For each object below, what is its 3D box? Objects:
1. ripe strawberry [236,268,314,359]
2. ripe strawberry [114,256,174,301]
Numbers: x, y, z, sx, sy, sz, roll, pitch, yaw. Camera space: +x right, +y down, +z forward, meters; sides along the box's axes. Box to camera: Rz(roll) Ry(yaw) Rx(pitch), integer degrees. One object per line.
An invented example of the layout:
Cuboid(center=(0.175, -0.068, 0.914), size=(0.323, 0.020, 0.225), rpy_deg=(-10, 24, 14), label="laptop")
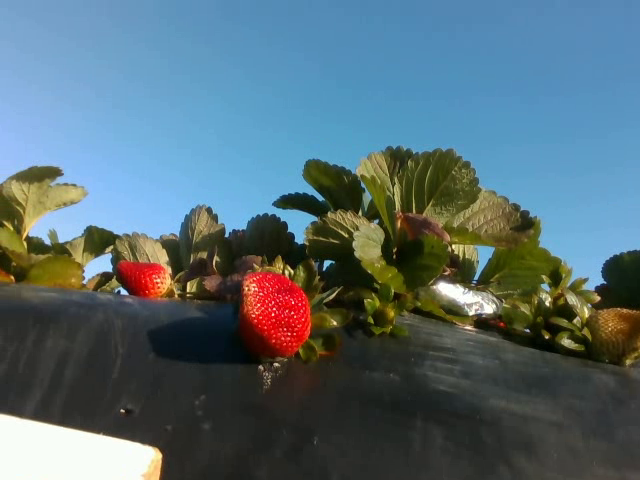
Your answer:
Cuboid(center=(-0.026, 0.036, 0.276), size=(0.042, 0.042, 0.058), rpy_deg=(19, -2, 21), label="ripe strawberry")
Cuboid(center=(-0.124, 0.025, 0.409), size=(0.046, 0.036, 0.035), rpy_deg=(21, 7, -2), label="ripe strawberry")
